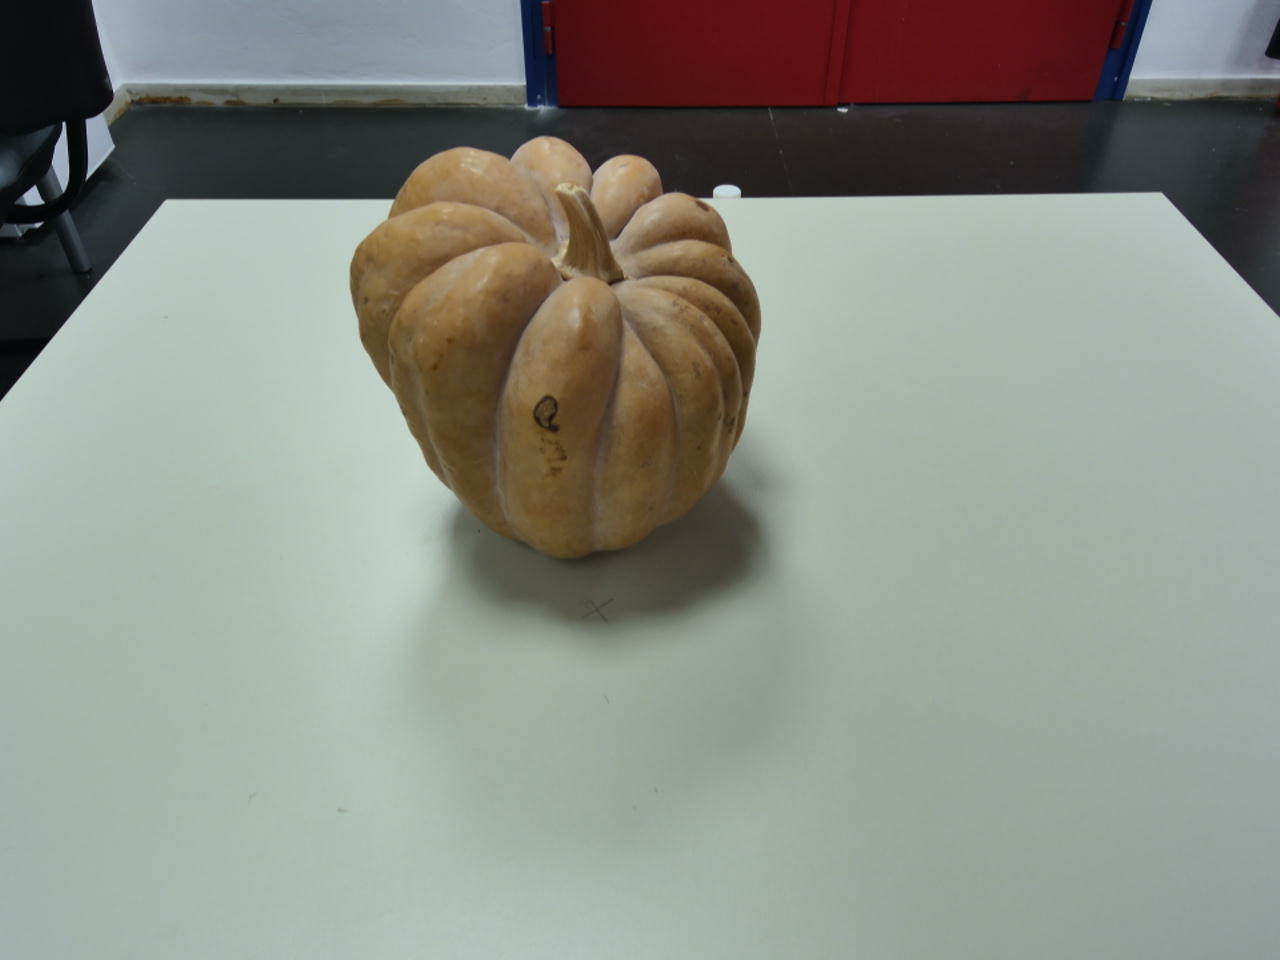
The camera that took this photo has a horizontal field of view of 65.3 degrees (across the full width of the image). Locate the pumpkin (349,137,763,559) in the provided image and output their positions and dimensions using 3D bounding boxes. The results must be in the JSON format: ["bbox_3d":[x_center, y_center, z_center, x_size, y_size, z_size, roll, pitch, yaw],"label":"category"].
[{"bbox_3d":[-0.036,-0.062,0.480,0.199,0.177,0.198,0,39,0],"label":"pumpkin"}]
